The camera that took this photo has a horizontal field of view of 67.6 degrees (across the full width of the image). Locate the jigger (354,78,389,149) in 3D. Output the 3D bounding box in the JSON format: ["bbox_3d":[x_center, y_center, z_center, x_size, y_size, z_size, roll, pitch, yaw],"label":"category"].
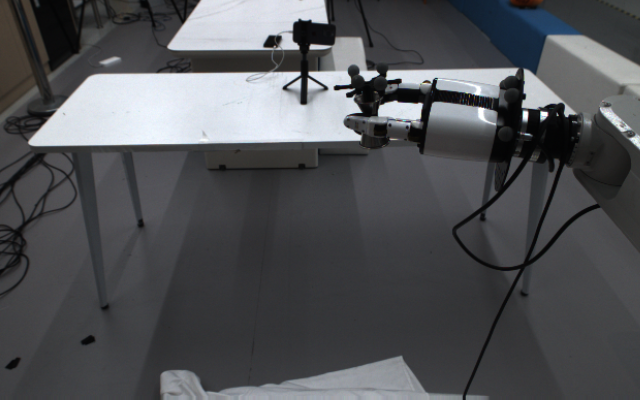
[{"bbox_3d":[0.072,-0.112,0.671,0.043,0.071,0.043,-9,31,5],"label":"jigger"}]
